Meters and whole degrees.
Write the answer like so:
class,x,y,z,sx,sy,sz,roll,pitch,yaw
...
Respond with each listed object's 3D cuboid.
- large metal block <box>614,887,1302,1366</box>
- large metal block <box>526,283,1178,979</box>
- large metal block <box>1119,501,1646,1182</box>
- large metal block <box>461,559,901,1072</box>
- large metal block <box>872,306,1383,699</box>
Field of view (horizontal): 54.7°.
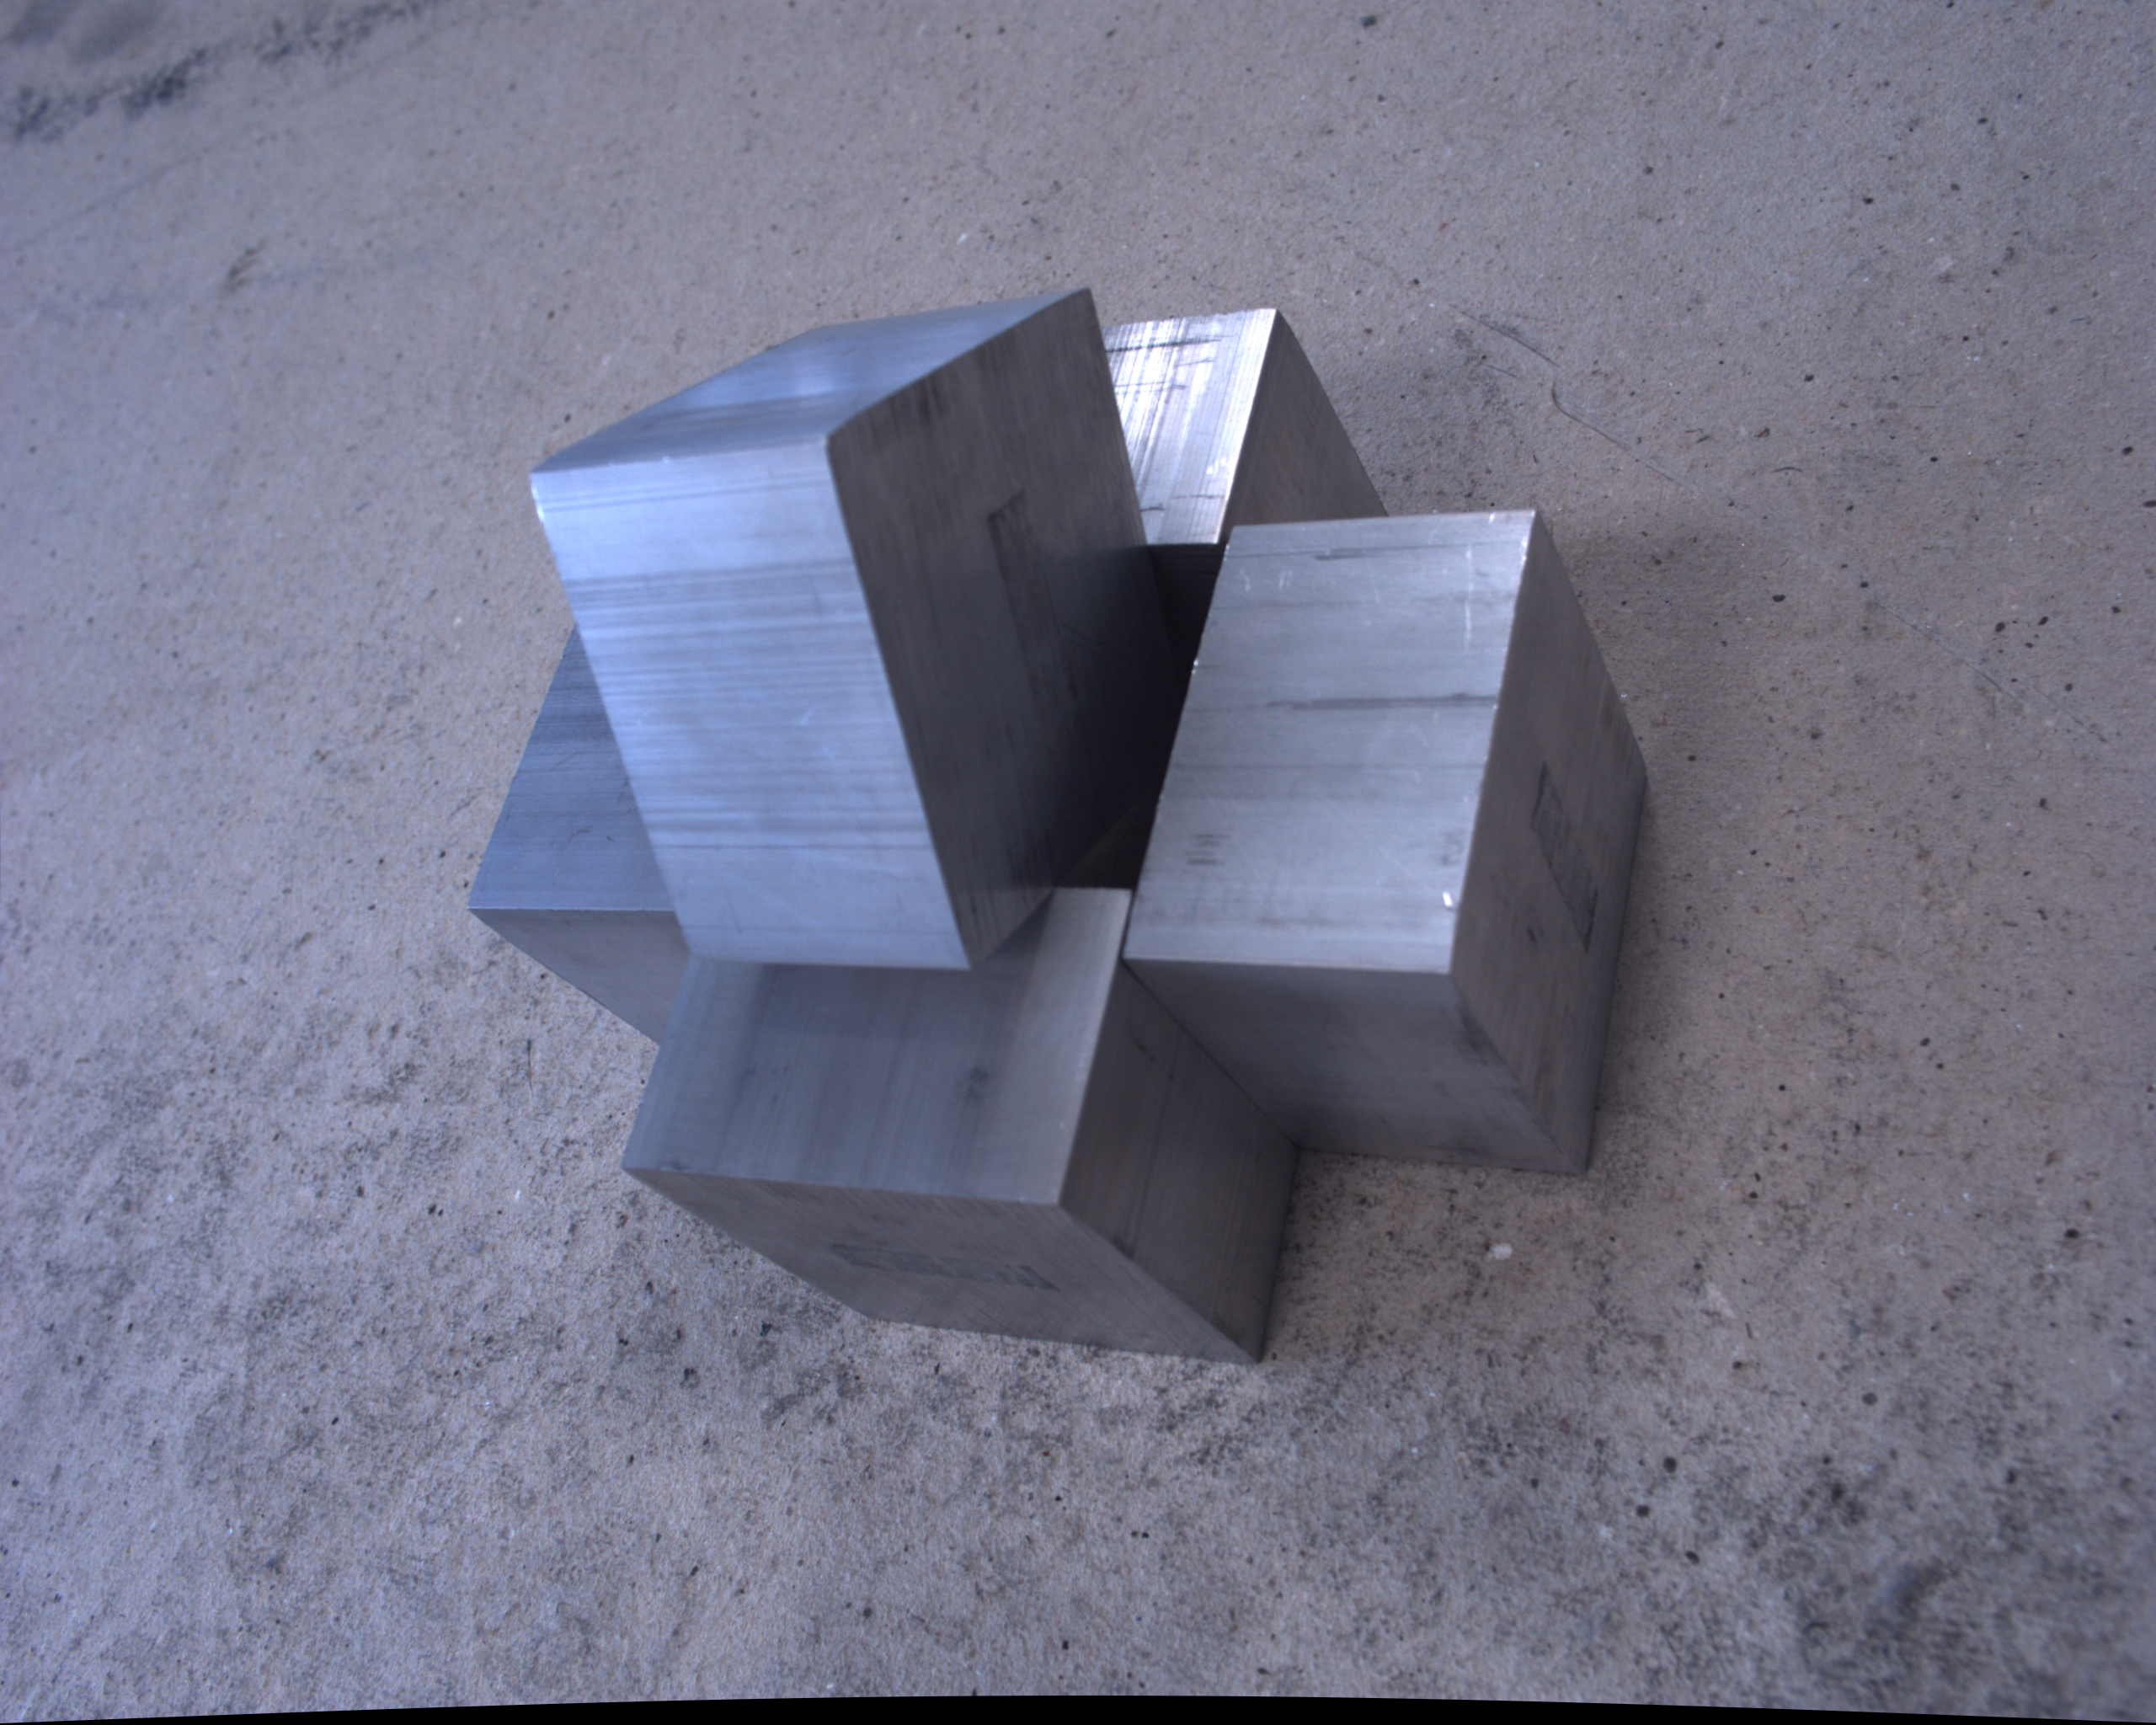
class,x,y,z,sx,sy,sz,roll,pitch,yaw
large metal block,-0.015,0.044,0.351,0.080,0.080,0.050,0,62,28
large metal block,-0.028,-0.038,0.324,0.050,0.080,0.080,1,28,29
large metal block,0.054,-0.001,0.342,0.050,0.080,0.080,1,62,29
large metal block,-0.061,-0.009,0.406,0.050,0.080,0.080,0,62,28
large metal block,0.011,-0.056,0.400,0.080,0.080,0.050,1,63,28
